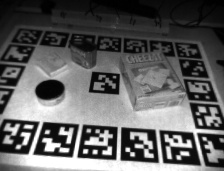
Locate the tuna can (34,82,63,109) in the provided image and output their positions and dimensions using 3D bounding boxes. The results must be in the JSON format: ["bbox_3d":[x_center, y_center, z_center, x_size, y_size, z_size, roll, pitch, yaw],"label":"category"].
[{"bbox_3d":[-0.199,0.032,0.688,0.086,0.034,0.085,3,50,-3],"label":"tuna can"}]

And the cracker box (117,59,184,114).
[{"bbox_3d":[0.125,-0.012,0.753,0.165,0.072,0.211,-7,47,-14],"label":"cracker box"}]

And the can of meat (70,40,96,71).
[{"bbox_3d":[-0.111,-0.110,0.810,0.101,0.084,0.058,26,50,19],"label":"can of meat"}]

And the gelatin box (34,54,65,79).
[{"bbox_3d":[-0.227,-0.072,0.787,0.088,0.030,0.074,39,51,23],"label":"gelatin box"}]
